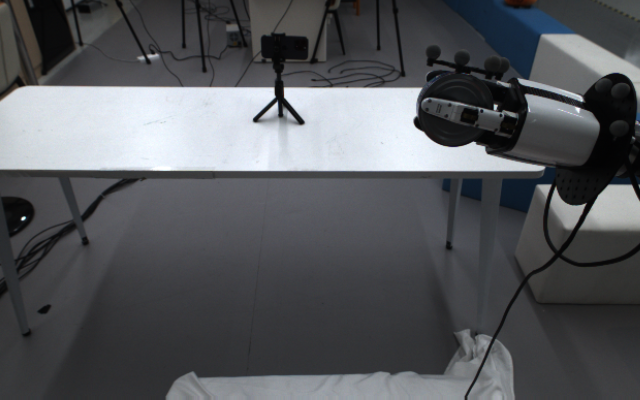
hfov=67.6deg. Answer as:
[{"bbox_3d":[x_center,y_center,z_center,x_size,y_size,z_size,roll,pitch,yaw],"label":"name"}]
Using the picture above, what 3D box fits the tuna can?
[{"bbox_3d":[0.160,-0.112,0.577,0.085,0.085,0.034,4,19,3],"label":"tuna can"}]
